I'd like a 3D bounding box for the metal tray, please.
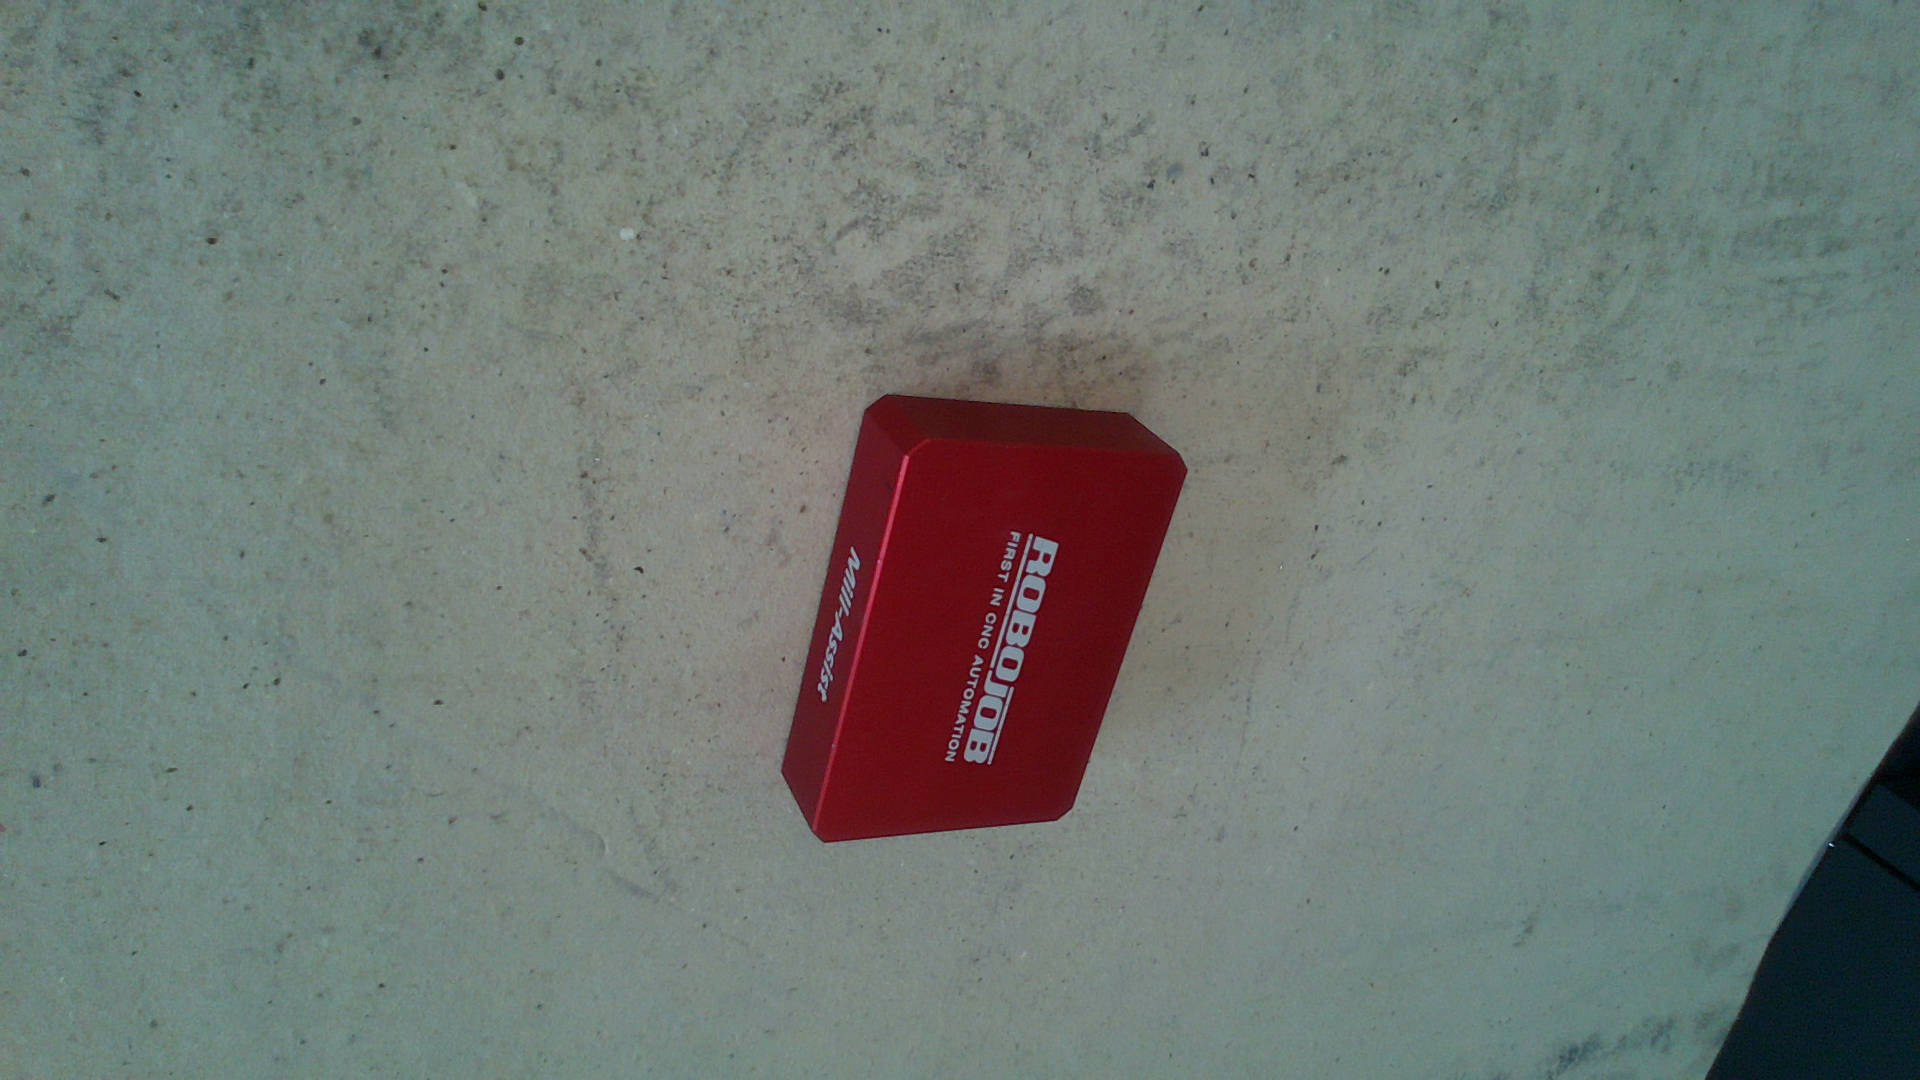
[{"bbox_3d":[0.005,0.025,0.404,0.090,0.030,0.130,1,119,-29],"label":"metal tray"}]
